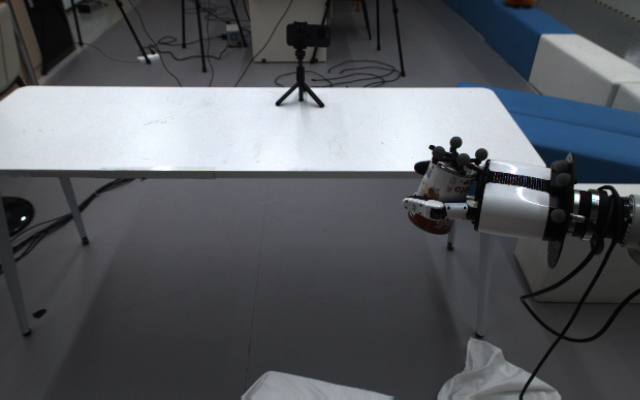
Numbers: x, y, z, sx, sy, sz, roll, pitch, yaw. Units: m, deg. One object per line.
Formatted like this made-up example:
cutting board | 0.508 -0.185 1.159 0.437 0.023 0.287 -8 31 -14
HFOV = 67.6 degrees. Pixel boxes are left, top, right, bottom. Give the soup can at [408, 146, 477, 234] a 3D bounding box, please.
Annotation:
soup can | 0.178 -0.011 0.701 0.067 0.101 0.067 13 30 -8
